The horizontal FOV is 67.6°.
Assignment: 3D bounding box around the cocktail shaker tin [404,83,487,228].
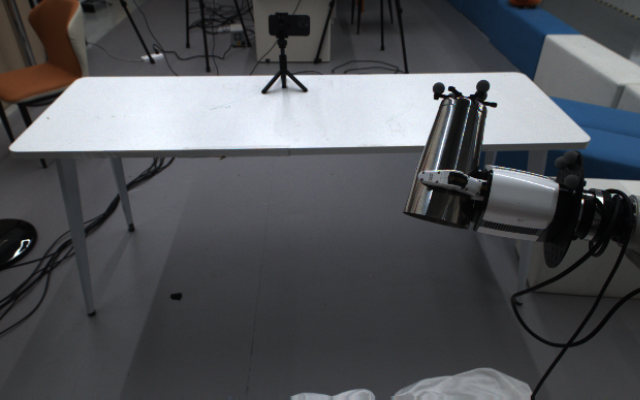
[{"bbox_3d":[0.182,-0.053,0.684,0.093,0.170,0.093,15,-4,1],"label":"cocktail shaker tin"}]
